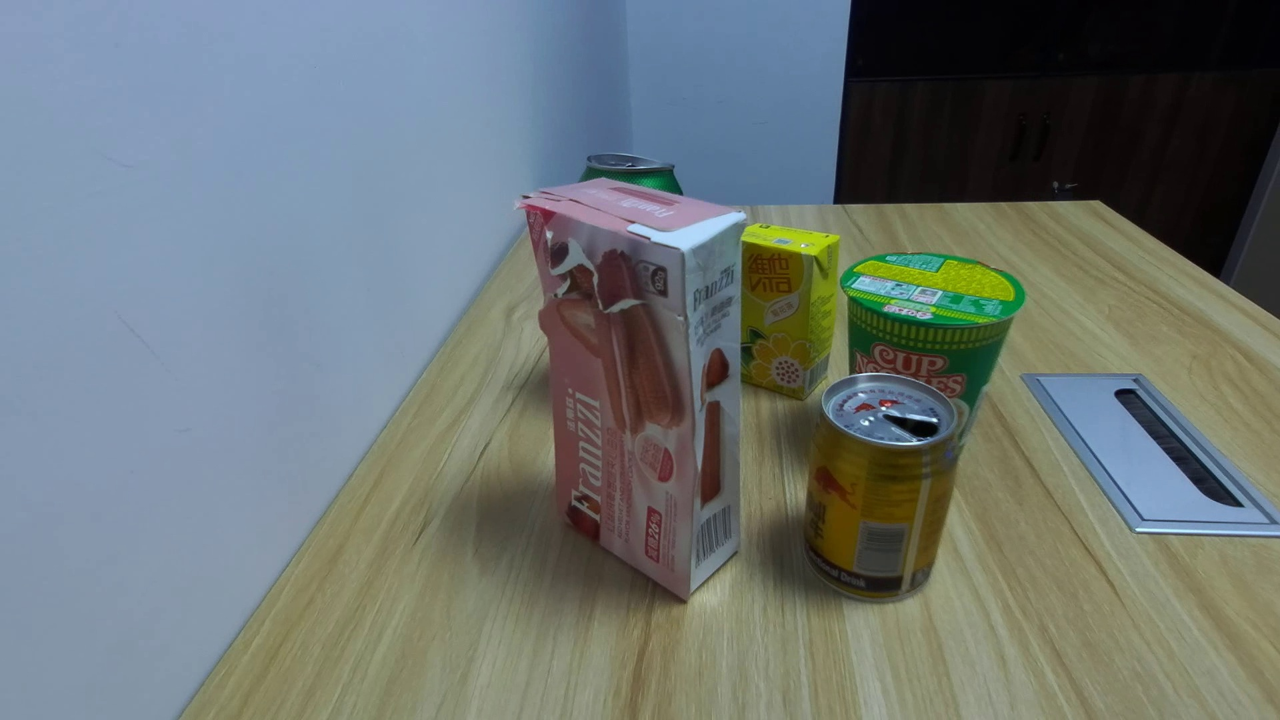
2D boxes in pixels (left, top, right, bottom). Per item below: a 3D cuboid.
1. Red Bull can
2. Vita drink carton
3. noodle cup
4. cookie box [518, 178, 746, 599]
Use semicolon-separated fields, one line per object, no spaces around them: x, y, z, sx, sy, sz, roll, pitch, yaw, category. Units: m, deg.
0.115;0.061;0.343;0.068;0.093;0.068;-2;29;1;Red Bull can
0.094;-0.035;0.492;0.076;0.109;0.043;19;35;33;Vita drink carton
0.164;0.005;0.415;0.097;0.110;0.097;-3;29;2;noodle cup
-0.001;0.017;0.336;0.059;0.186;0.104;-25;35;-37;cookie box
